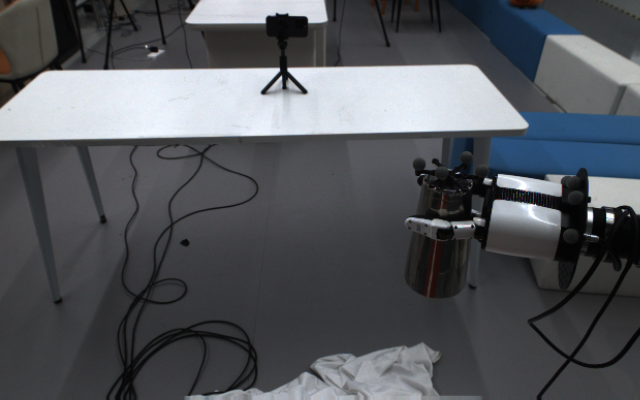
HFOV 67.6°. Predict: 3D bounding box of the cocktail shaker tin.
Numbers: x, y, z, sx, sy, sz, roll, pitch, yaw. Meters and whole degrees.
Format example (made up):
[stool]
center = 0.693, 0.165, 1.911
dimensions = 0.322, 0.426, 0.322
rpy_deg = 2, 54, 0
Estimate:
[cocktail shaker tin]
center = 0.177, 0.042, 0.692
dimensions = 0.093, 0.170, 0.093
rpy_deg = -1, 32, 1
